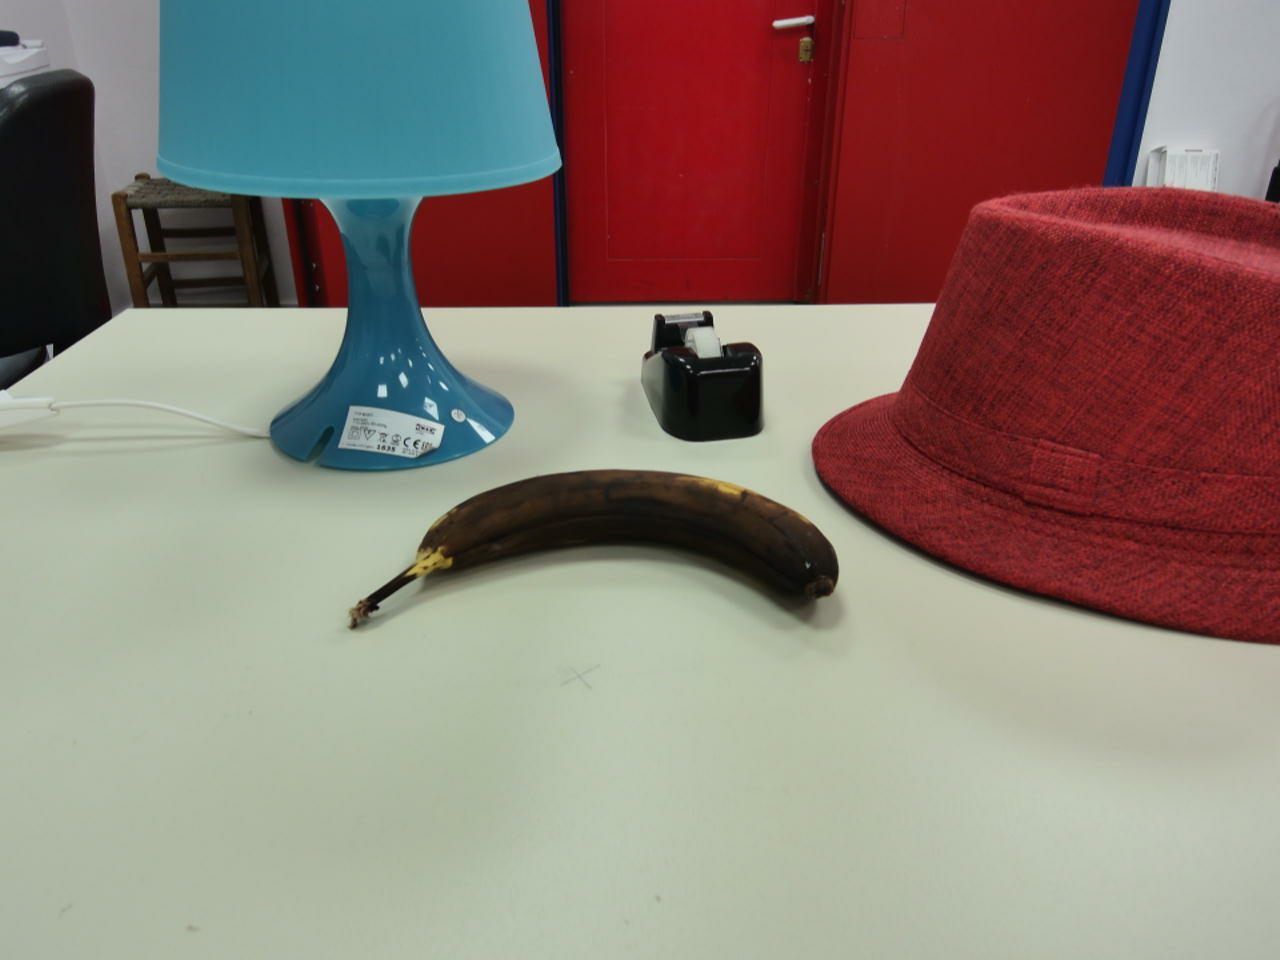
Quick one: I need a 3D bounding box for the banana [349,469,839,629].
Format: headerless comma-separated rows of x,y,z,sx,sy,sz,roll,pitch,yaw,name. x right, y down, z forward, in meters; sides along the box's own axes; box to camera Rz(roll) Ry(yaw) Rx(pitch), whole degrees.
-0.017,0.023,0.413,0.188,0.034,0.091,0,25,1,banana
